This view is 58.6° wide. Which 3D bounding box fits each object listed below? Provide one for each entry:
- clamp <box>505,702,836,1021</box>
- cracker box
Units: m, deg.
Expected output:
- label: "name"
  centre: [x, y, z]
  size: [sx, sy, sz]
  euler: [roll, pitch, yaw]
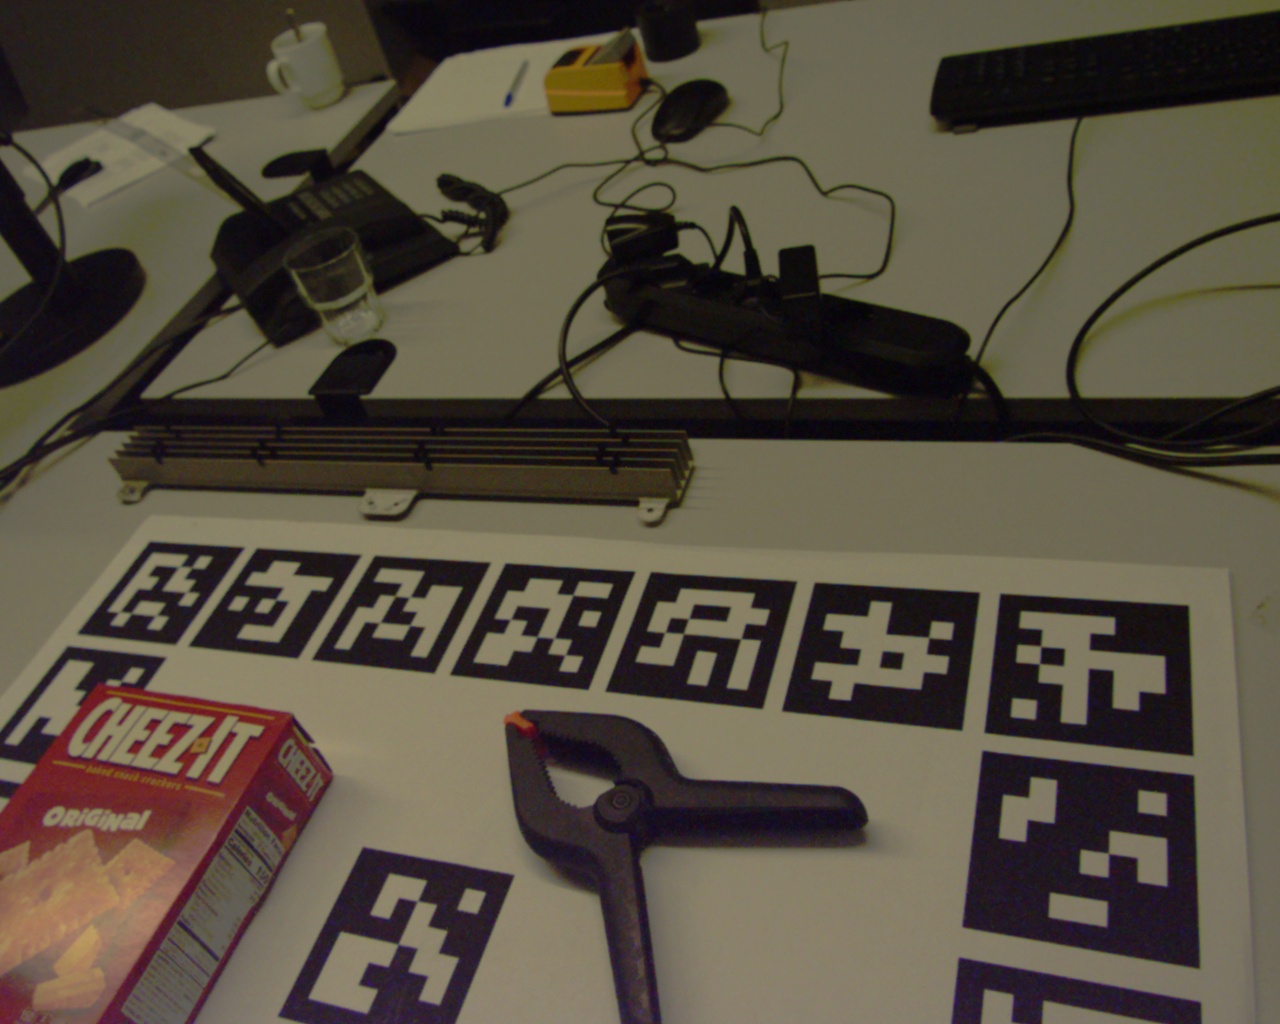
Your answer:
- label: "clamp"
  centre: [-0.014, 0.171, 0.667]
  size: [0.164, 0.036, 0.206]
  euler: [-38, 44, -22]
- label: "cracker box"
  centre: [-0.314, 0.214, 0.691]
  size: [0.166, 0.071, 0.213]
  euler: [3, 45, 24]
